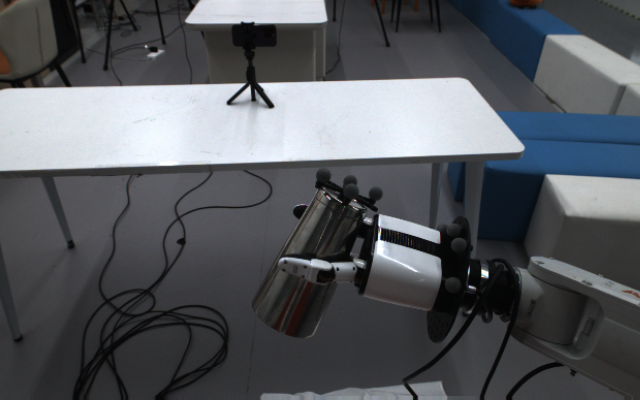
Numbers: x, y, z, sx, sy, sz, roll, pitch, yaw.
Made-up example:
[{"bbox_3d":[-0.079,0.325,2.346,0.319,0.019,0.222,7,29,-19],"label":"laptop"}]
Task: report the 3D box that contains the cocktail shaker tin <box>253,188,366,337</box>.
[{"bbox_3d":[-0.007,0.070,0.600,0.093,0.170,0.093,25,13,-6],"label":"cocktail shaker tin"}]
